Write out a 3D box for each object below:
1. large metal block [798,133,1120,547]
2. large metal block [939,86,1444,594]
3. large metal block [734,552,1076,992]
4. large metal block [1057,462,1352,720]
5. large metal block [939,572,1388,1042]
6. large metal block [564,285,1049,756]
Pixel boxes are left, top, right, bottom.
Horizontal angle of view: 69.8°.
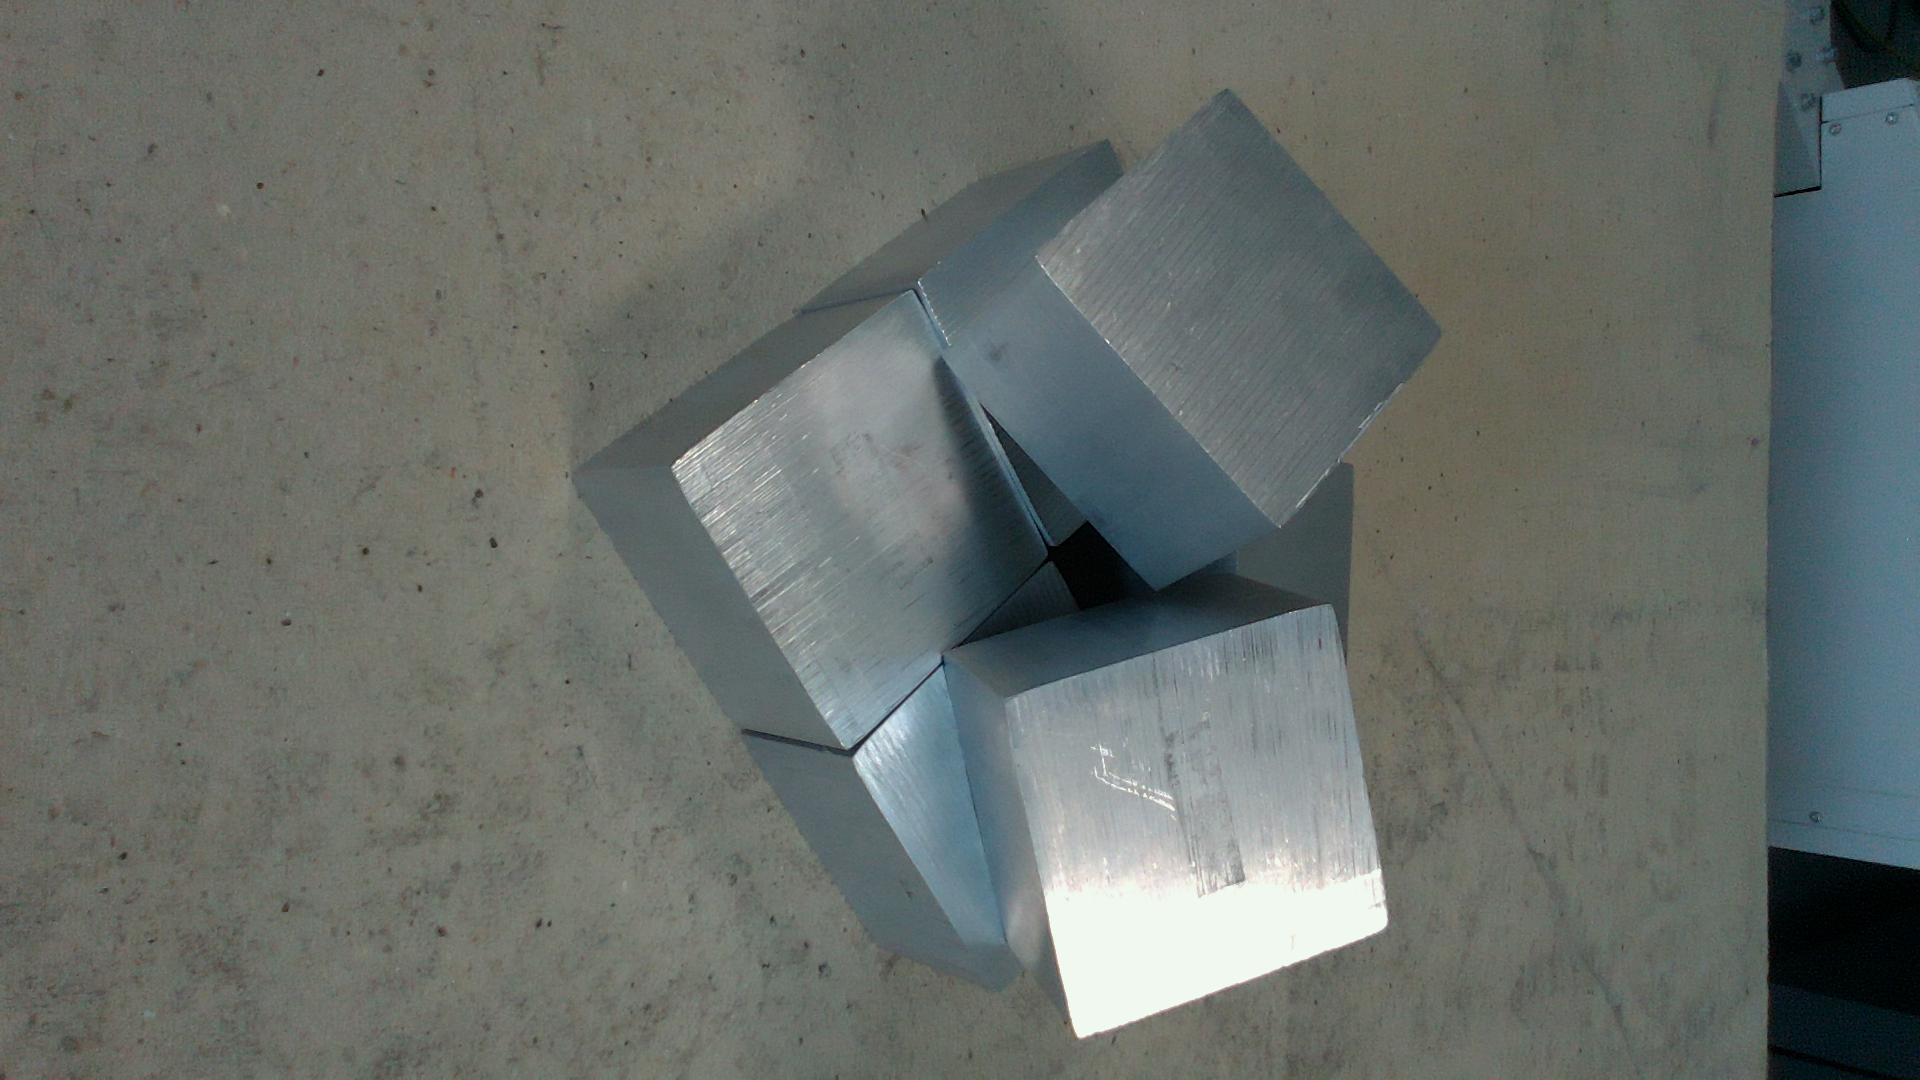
[{"bbox_3d":[0.016,-0.054,0.384,0.080,0.050,0.080,-44,116,-32],"label":"large metal block"},{"bbox_3d":[0.057,-0.048,0.335,0.080,0.050,0.080,47,59,-3],"label":"large metal block"},{"bbox_3d":[0.000,0.059,0.375,0.080,0.050,0.080,-43,116,-31],"label":"large metal block"},{"bbox_3d":[0.066,0.016,0.409,0.050,0.080,0.080,5,87,-40],"label":"large metal block"},{"bbox_3d":[0.048,0.059,0.329,0.080,0.050,0.080,-15,101,-14],"label":"large metal block"},{"bbox_3d":[-0.035,-0.006,0.344,0.080,0.050,0.080,-43,116,-32],"label":"large metal block"}]
